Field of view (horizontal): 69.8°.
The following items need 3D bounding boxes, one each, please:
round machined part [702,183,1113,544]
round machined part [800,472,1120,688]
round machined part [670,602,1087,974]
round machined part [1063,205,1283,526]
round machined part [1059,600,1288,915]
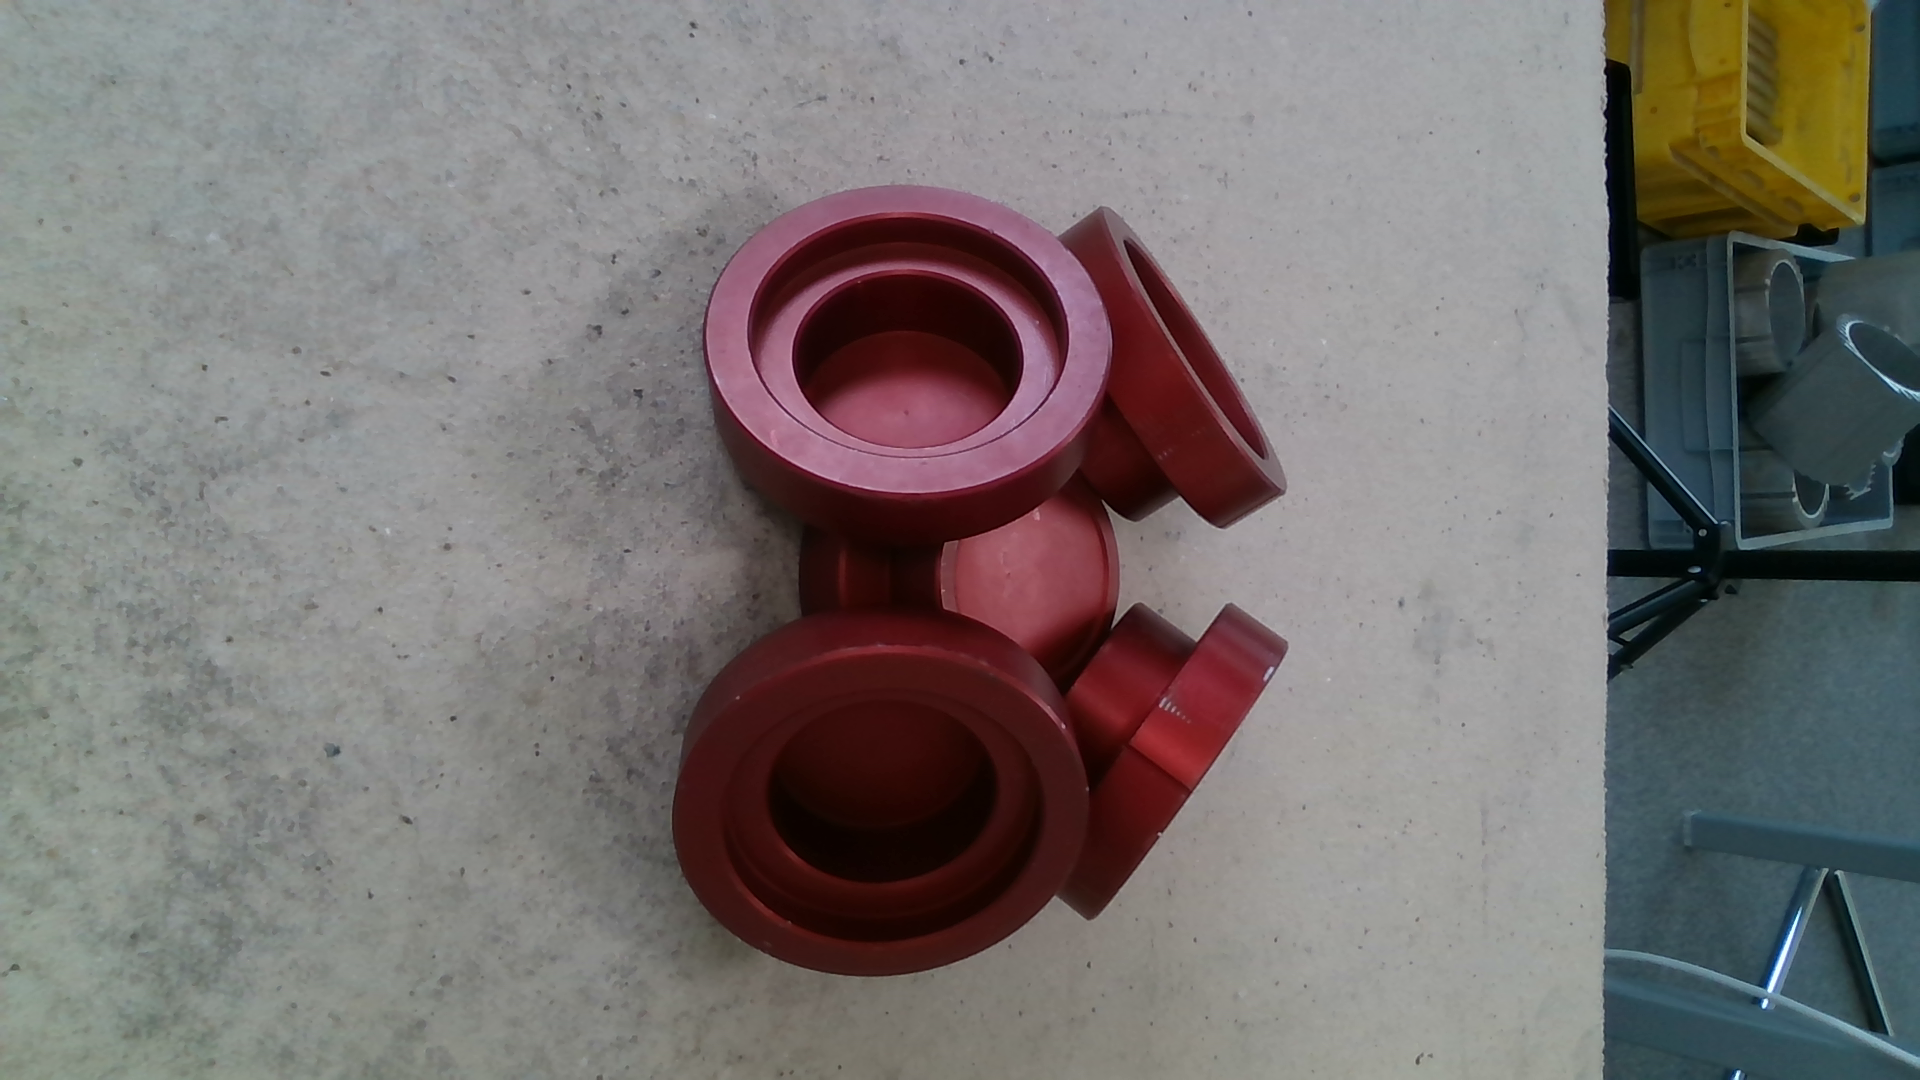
[{"bbox_3d":[-0.013,-0.040,0.346,0.098,0.098,0.042,-51,164,-28],"label":"round machined part"},{"bbox_3d":[0.007,0.010,0.386,0.098,0.042,0.098,-1,92,-42],"label":"round machined part"},{"bbox_3d":[-0.020,0.057,0.342,0.098,0.042,0.098,-3,118,-5],"label":"round machined part"},{"bbox_3d":[0.051,-0.045,0.403,0.098,0.042,0.098,49,20,-24],"label":"round machined part"},{"bbox_3d":[0.049,0.057,0.399,0.042,0.098,0.098,36,60,10],"label":"round machined part"}]
